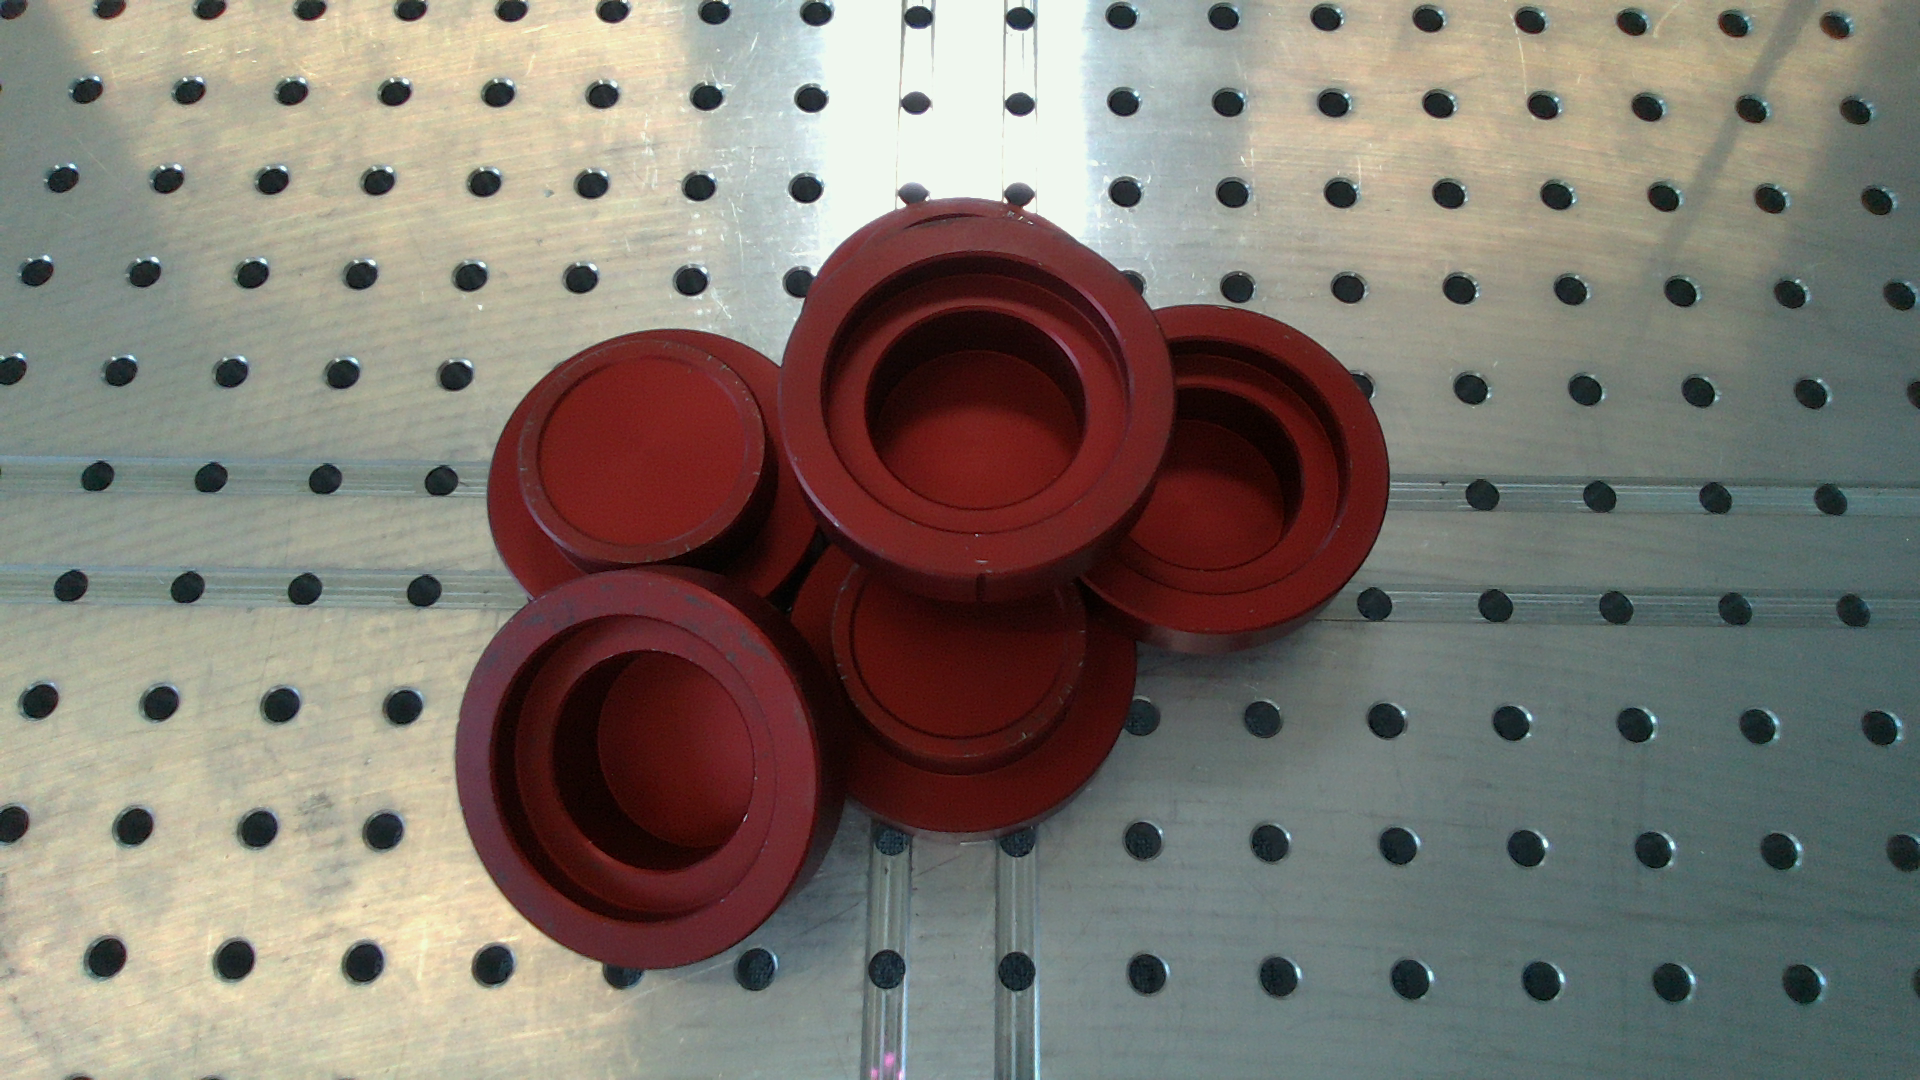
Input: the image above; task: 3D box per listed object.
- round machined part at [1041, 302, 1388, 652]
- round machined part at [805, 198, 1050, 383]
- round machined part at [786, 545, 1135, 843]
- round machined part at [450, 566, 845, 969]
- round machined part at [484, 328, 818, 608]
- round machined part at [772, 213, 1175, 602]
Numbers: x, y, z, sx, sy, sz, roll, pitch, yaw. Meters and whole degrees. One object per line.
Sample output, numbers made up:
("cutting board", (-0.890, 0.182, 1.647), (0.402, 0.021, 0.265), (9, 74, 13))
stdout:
("round machined part", (0.067, -0.015, 0.393), (0.098, 0.042, 0.098), (0, 70, 0))
("round machined part", (-0.001, -0.062, 0.411), (0.098, 0.042, 0.098), (0, 70, 0))
("round machined part", (-0.001, 0.031, 0.376), (0.098, 0.042, 0.098), (0, 70, 0))
("round machined part", (-0.076, 0.055, 0.354), (0.098, 0.042, 0.098), (1, 93, 14))
("round machined part", (-0.087, -0.018, 0.394), (0.098, 0.042, 0.098), (0, 70, 0))
("round machined part", (0.003, -0.031, 0.354), (0.098, 0.042, 0.098), (0, 70, 0))
